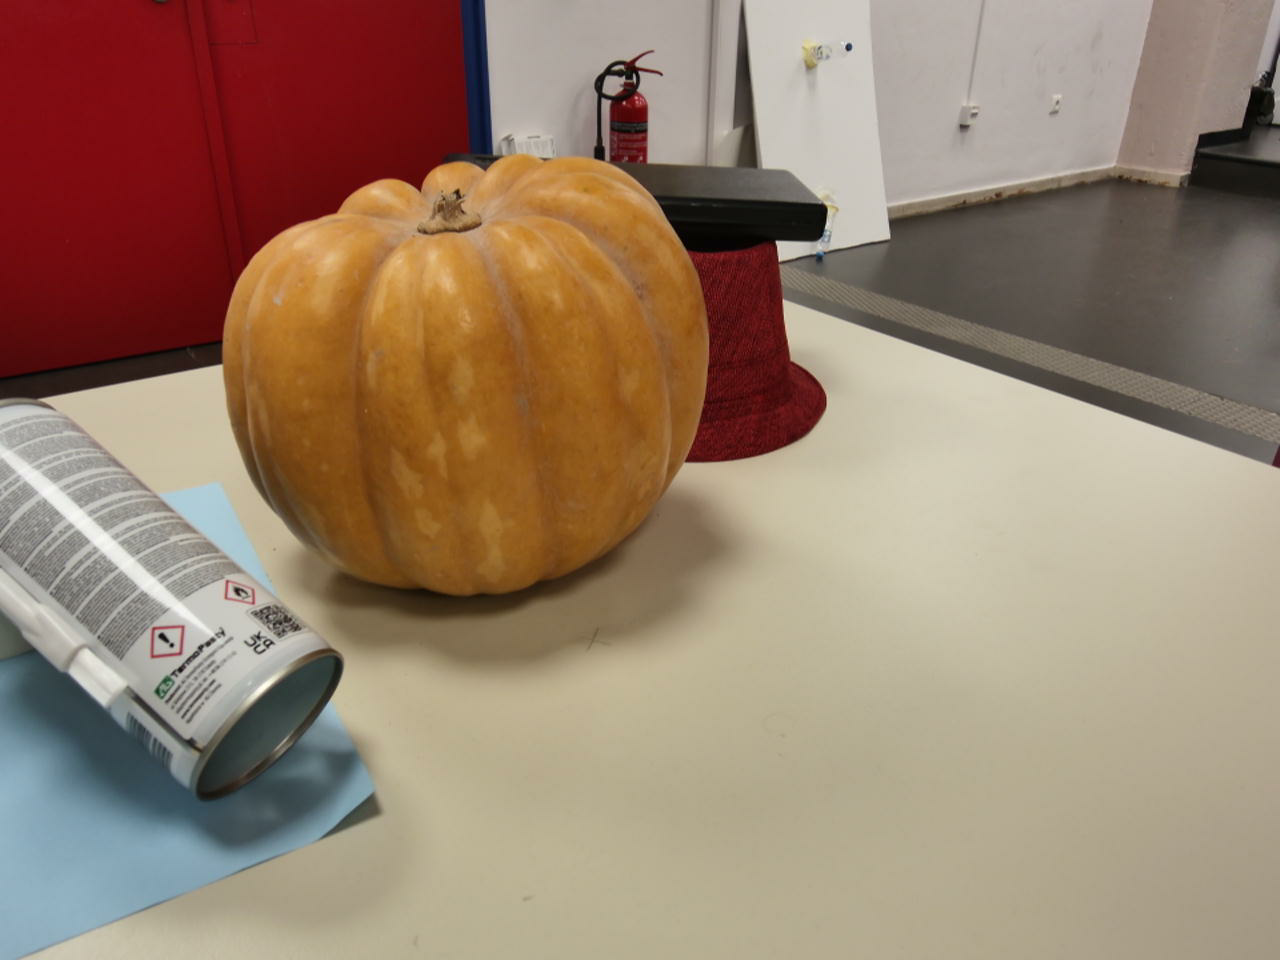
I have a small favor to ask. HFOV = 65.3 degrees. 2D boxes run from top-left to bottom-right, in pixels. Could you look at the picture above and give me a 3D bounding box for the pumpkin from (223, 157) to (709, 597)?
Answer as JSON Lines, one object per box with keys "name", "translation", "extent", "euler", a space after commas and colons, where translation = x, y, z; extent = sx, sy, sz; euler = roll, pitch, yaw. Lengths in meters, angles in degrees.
{"name": "pumpkin", "translation": [-0.078, -0.051, 0.483], "extent": [0.230, 0.194, 0.230], "euler": [0, 26, 0]}
